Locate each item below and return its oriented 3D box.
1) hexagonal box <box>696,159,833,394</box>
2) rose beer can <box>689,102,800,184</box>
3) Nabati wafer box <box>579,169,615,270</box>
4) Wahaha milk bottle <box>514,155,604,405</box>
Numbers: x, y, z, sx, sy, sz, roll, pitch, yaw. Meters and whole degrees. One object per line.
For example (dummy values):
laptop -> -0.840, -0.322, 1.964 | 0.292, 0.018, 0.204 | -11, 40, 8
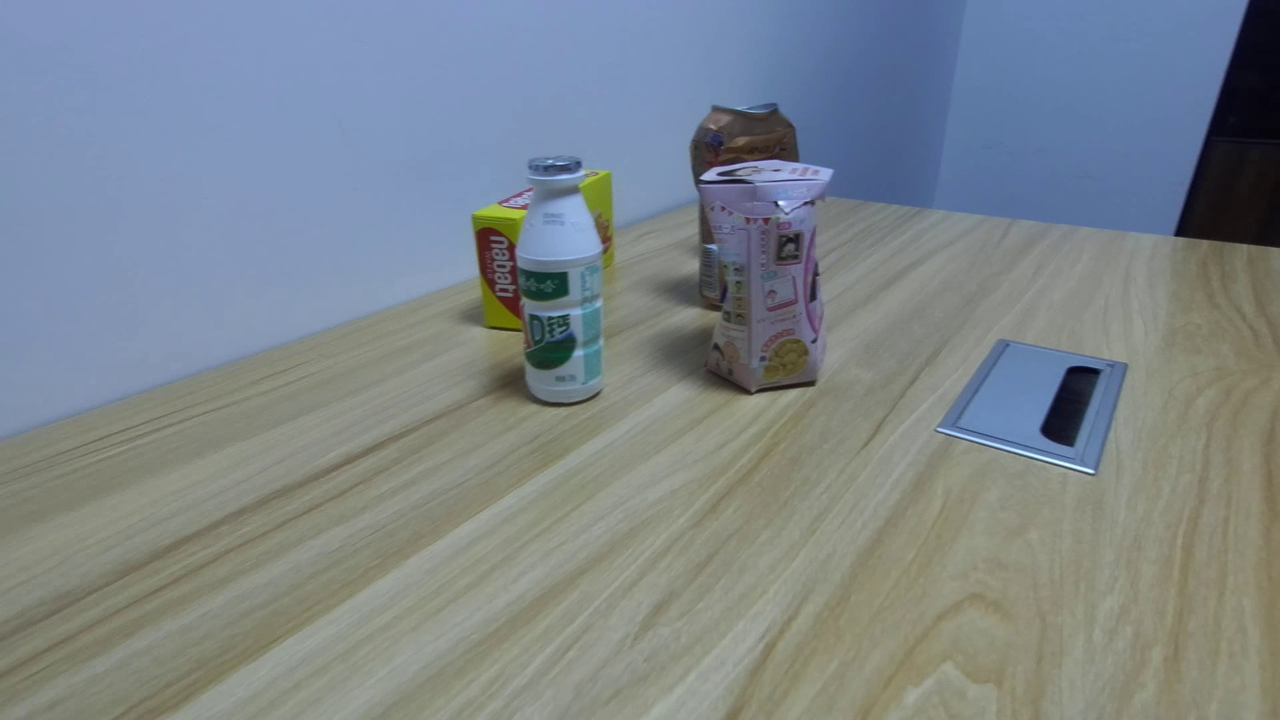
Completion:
hexagonal box -> 0.080, -0.056, 0.464 | 0.091, 0.134, 0.089 | -16, 25, -28
rose beer can -> 0.082, -0.118, 0.564 | 0.067, 0.161, 0.074 | 7, 10, 38
Nabati wafer box -> -0.097, -0.121, 0.709 | 0.042, 0.093, 0.203 | -2, 19, 14
Wahaha milk bottle -> -0.049, -0.048, 0.436 | 0.053, 0.147, 0.053 | -1, 23, 1
